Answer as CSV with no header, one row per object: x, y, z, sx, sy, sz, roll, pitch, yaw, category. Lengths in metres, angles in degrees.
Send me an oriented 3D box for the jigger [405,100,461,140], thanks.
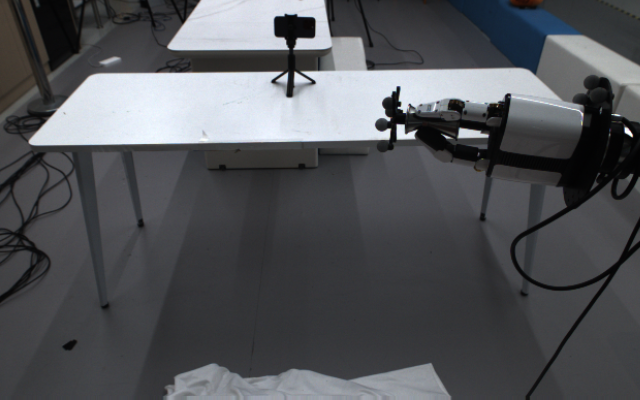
0.155,-0.108,0.634,0.071,0.043,0.043,8,35,15,jigger
